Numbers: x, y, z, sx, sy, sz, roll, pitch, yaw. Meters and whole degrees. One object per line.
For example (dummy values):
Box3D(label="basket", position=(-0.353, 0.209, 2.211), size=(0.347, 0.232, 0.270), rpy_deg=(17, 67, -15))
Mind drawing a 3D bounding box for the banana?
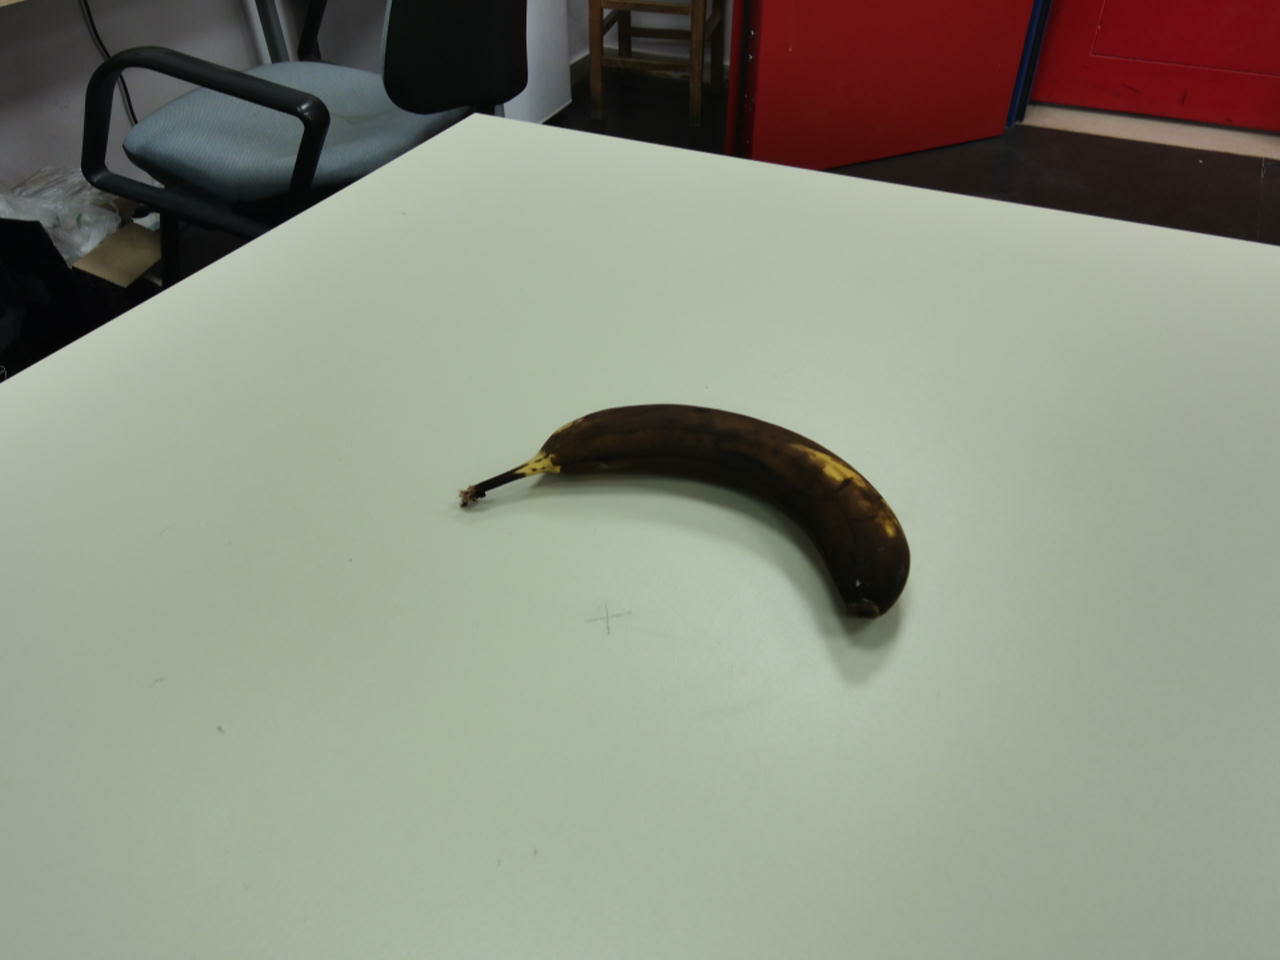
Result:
Box3D(label="banana", position=(0.025, 0.000, 0.420), size=(0.188, 0.034, 0.091), rpy_deg=(17, 41, 22))
